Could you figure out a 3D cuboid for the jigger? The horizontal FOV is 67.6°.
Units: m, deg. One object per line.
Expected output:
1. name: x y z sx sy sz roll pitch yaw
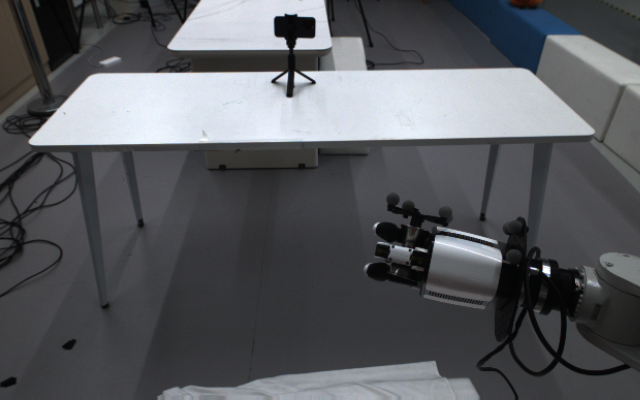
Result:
1. jigger: 0.120 0.070 0.644 0.043 0.071 0.043 16 -7 2
